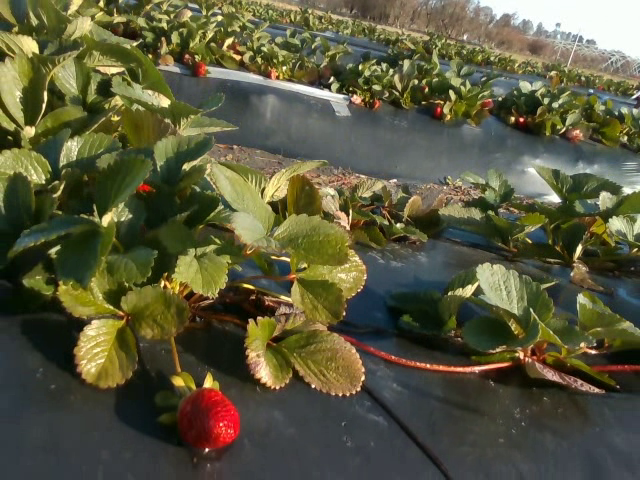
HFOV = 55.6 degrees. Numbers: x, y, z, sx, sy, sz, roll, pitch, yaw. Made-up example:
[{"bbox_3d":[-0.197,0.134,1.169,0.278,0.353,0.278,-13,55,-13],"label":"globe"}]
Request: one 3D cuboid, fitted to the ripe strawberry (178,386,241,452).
[{"bbox_3d":[-0.044,0.073,0.241,0.028,0.031,0.041,-20,3,-25],"label":"ripe strawberry"}]
